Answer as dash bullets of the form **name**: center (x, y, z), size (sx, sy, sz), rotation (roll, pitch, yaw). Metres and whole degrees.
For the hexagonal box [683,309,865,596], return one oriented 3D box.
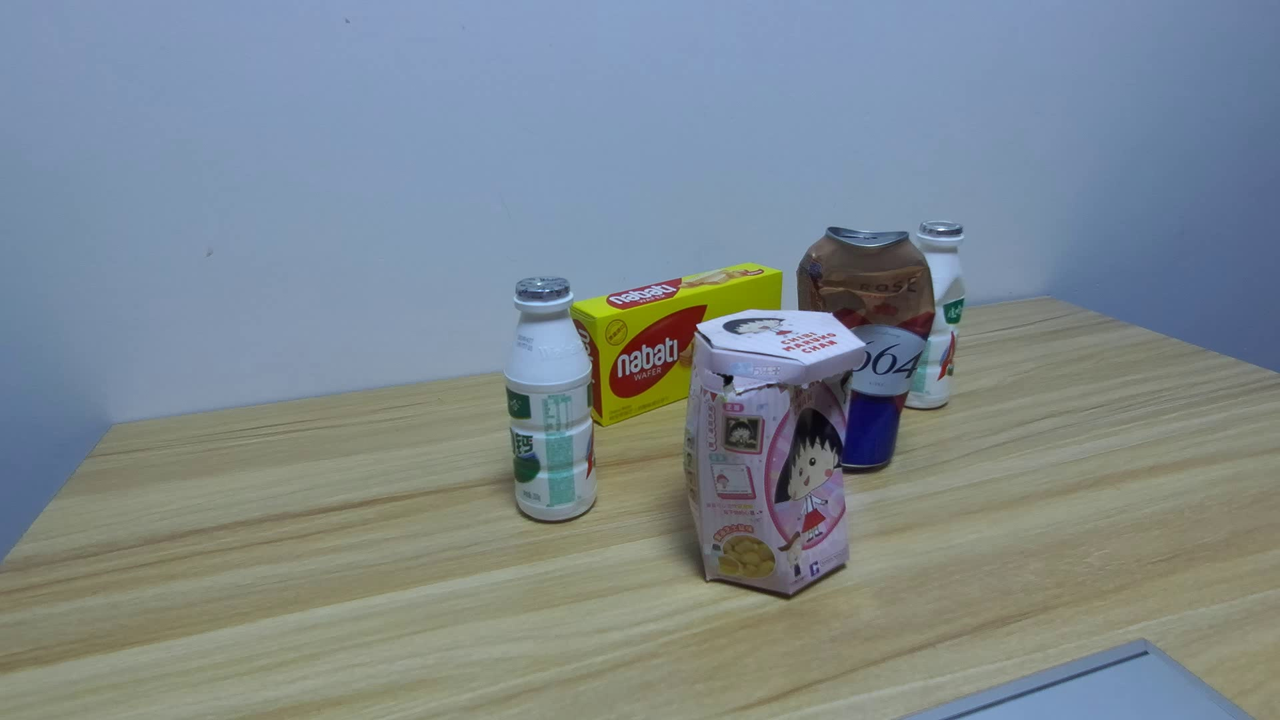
- **hexagonal box**: center (0.069, 0.047, 0.386), size (0.091, 0.134, 0.090), rotation (0, 20, 4)

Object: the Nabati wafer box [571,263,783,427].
- **Nabati wafer box**: center (0.038, -0.020, 0.608), size (0.204, 0.093, 0.042), rotation (-16, 29, -31)

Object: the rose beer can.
- **rose beer can**: center (0.146, -0.007, 0.479), size (0.074, 0.162, 0.068), rotation (-7, 22, -18)

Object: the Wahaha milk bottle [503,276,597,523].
- **Wahaha milk bottle**: center (-0.054, 0.025, 0.430), size (0.053, 0.147, 0.053), rotation (-1, 22, 1)
